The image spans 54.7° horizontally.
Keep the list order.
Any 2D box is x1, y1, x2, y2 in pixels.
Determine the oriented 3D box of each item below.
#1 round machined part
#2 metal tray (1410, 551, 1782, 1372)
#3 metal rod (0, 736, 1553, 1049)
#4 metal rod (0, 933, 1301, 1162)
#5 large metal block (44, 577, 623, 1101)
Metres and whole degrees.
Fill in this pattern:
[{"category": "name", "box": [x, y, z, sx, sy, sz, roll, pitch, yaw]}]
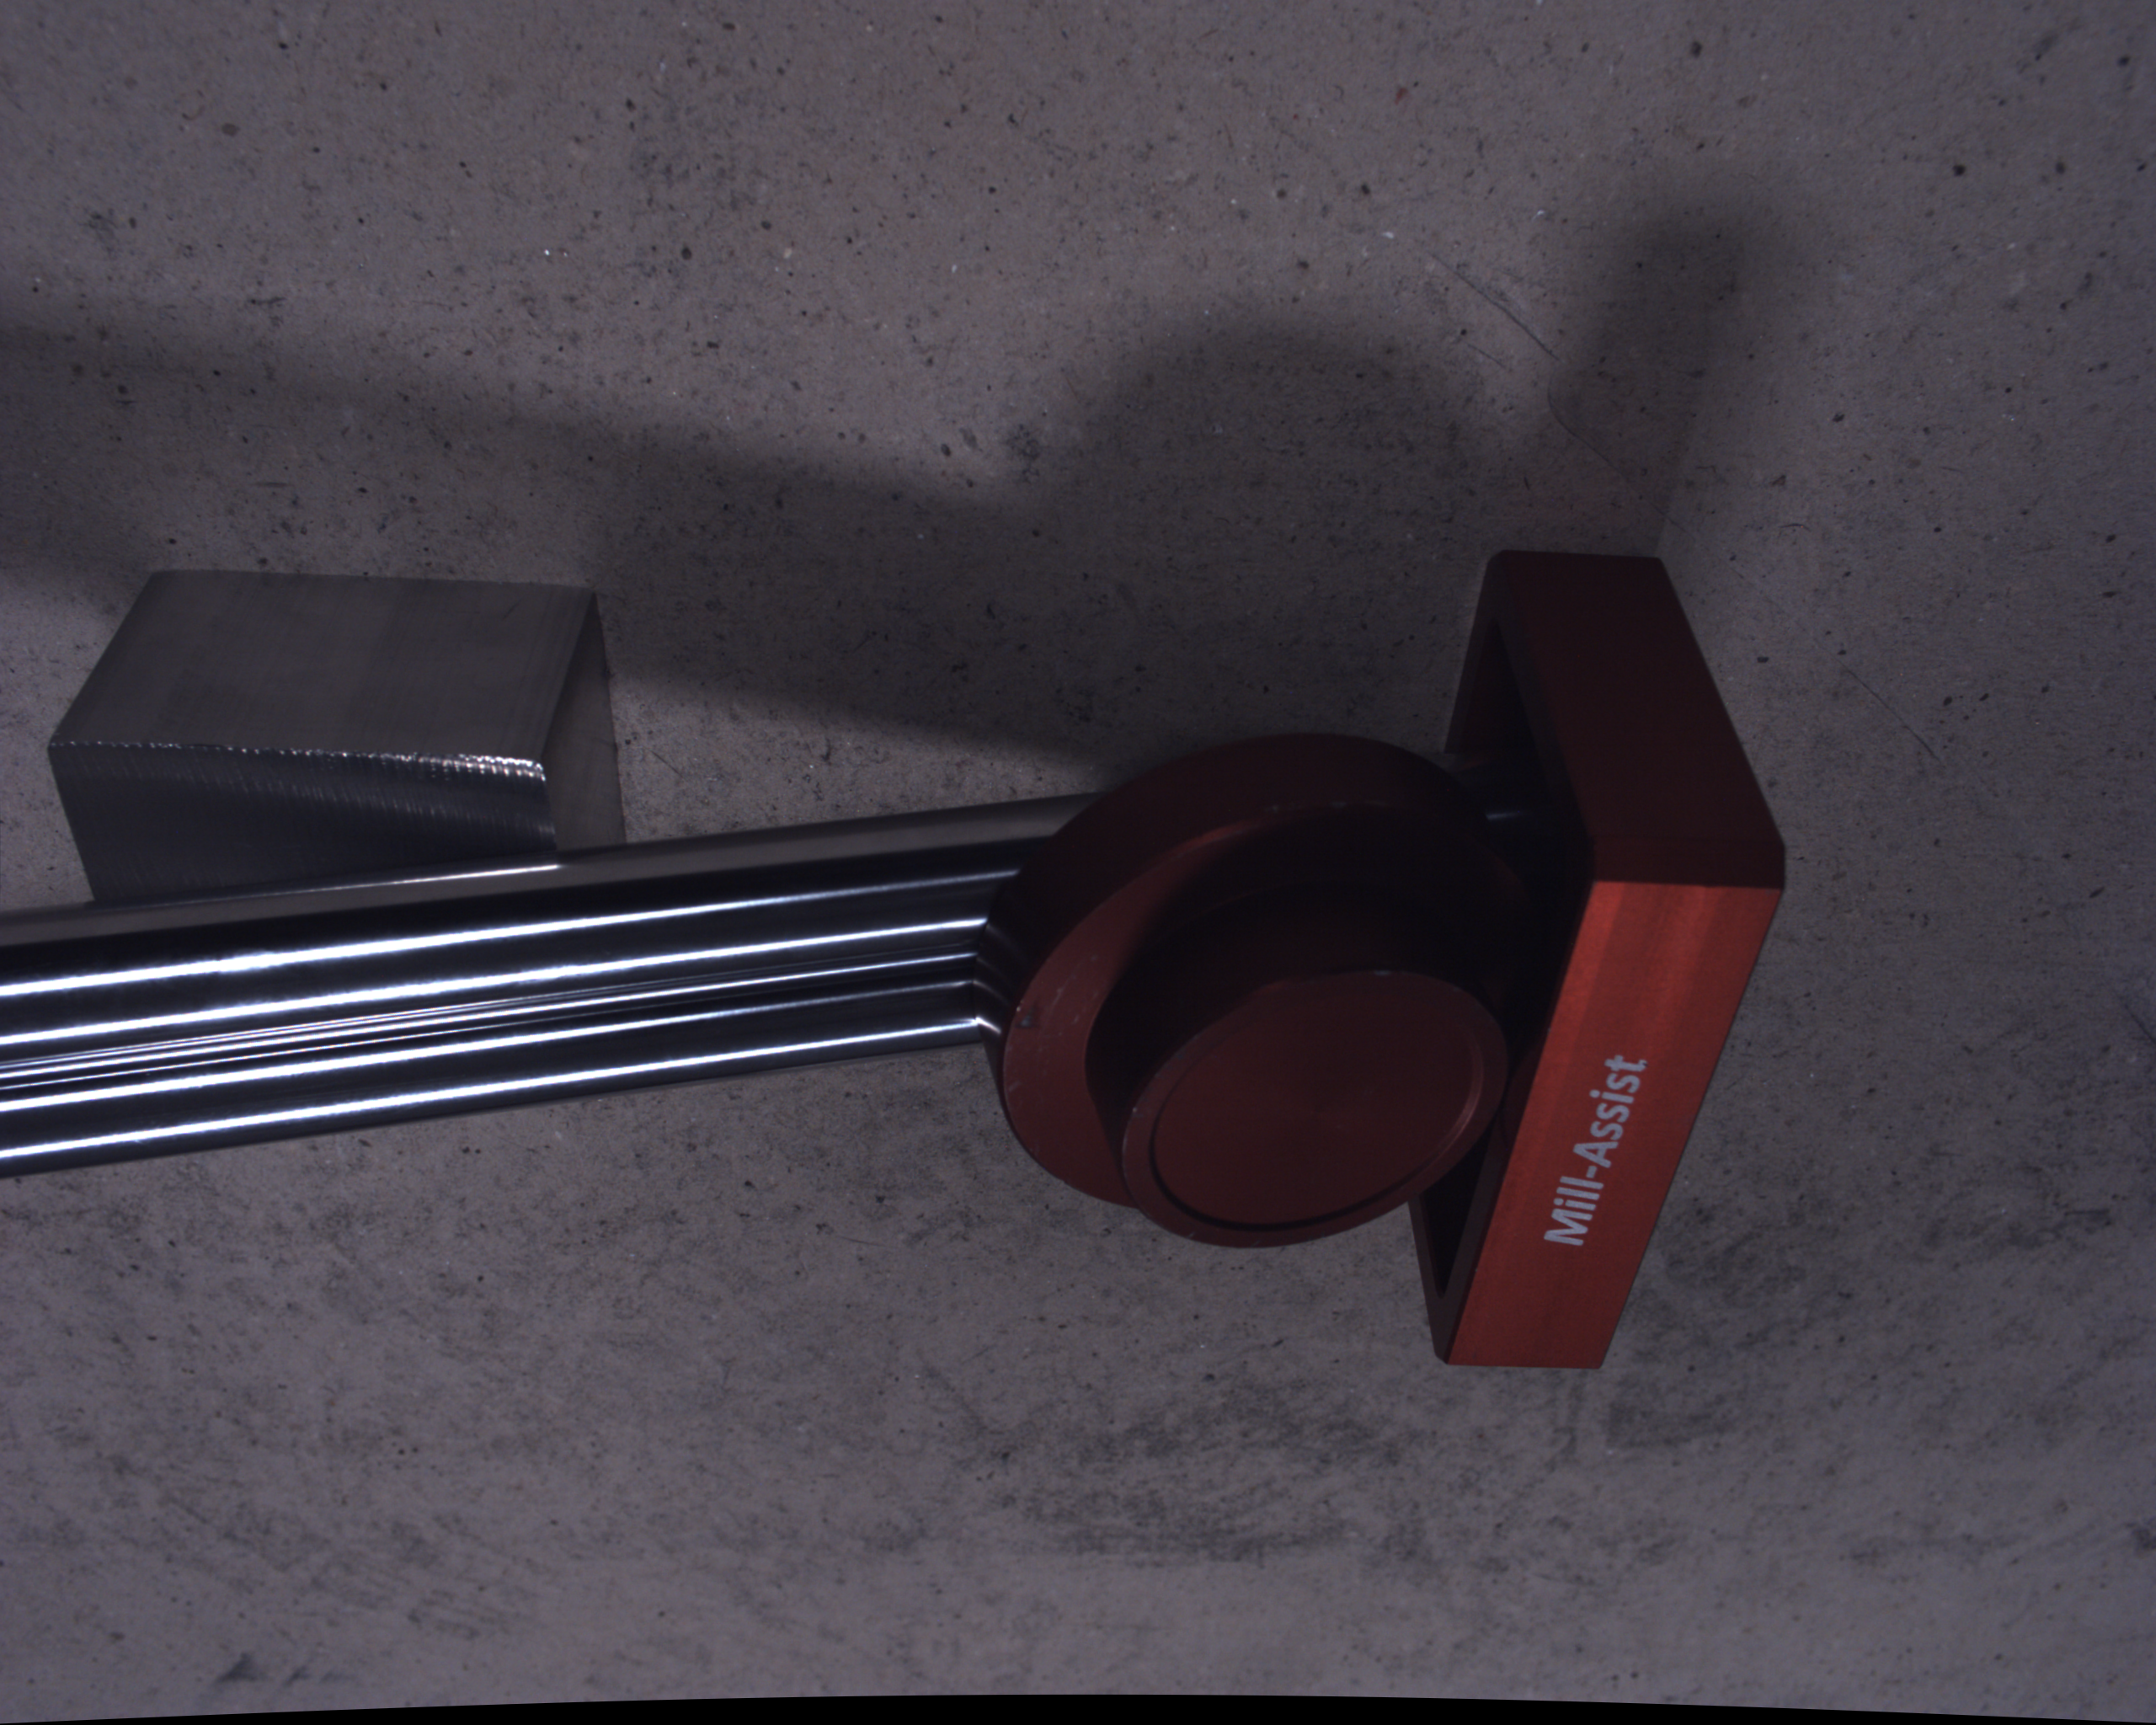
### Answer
[{"category": "round machined part", "box": [0.034, 0.029, 0.359, 0.099, 0.042, 0.097, -8, 133, -8]}, {"category": "metal tray", "box": [0.086, 0.020, 0.384, 0.030, 0.090, 0.129, 3, 130, -3]}, {"category": "metal rod", "box": [-0.065, 0.005, 0.353, 0.302, 0.025, 0.025, -6, 131, -12]}, {"category": "metal rod", "box": [-0.067, 0.026, 0.371, 0.302, 0.025, 0.025, -6, 131, -12]}, {"category": "large metal block", "box": [-0.129, -0.003, 0.383, 0.081, 0.050, 0.079, 2, 130, -3]}]
